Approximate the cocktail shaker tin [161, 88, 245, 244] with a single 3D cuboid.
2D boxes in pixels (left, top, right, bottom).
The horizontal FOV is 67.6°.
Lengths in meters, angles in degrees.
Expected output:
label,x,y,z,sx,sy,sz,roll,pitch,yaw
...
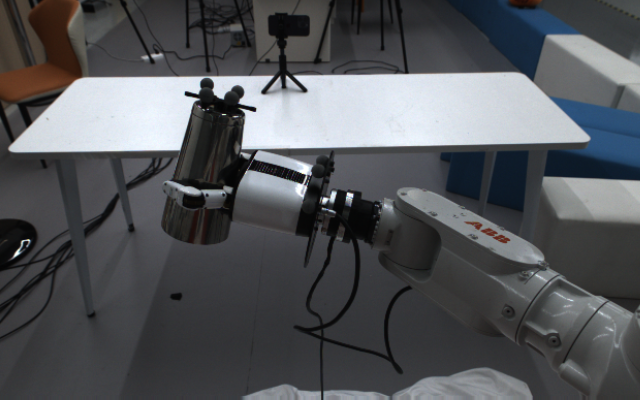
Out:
label,x,y,z,sx,sy,sz,roll,pitch,yaw
cocktail shaker tin,-0.147,-0.038,0.633,0.093,0.170,0.093,15,20,-5
